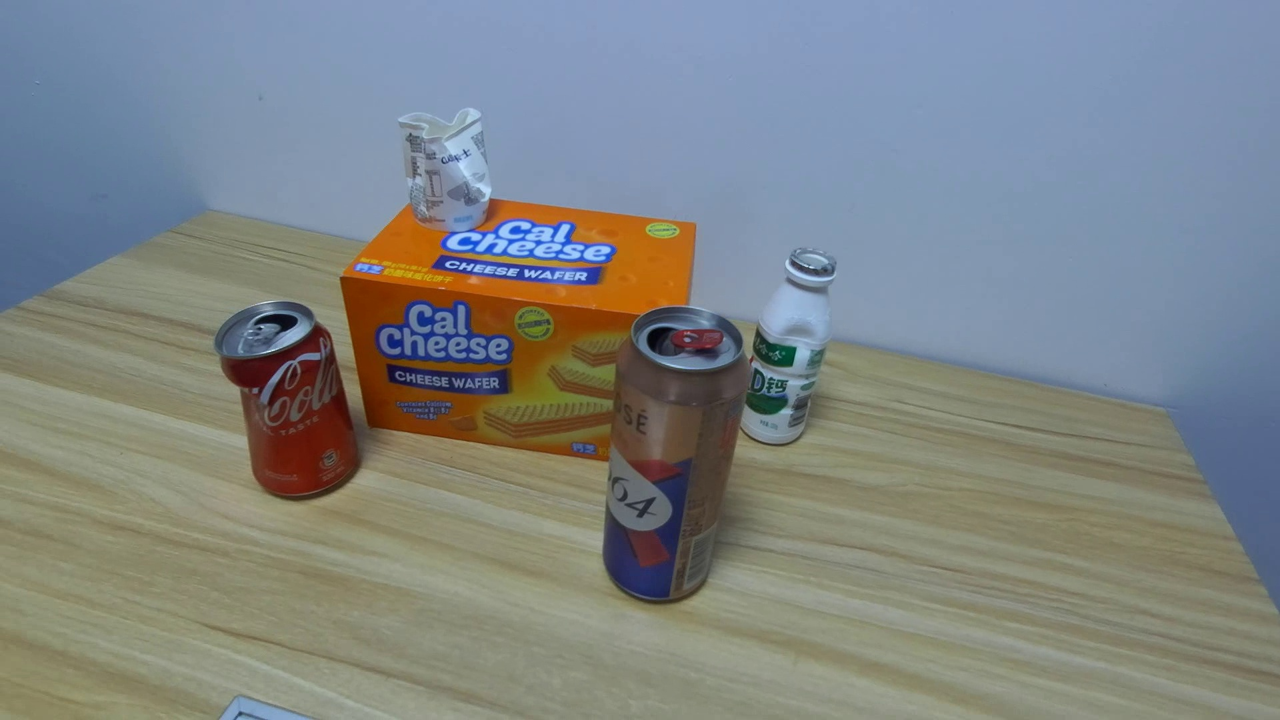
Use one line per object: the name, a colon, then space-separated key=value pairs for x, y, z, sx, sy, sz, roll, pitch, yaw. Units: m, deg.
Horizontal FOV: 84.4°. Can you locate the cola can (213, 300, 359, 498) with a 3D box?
cola can: x=-0.215 y=0.027 z=0.440 sx=0.066 sy=0.117 sz=0.072 roll=-15 pitch=39 yaw=-28

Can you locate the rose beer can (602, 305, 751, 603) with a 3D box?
rose beer can: x=0.017 y=0.057 z=0.385 sx=0.069 sy=0.169 sz=0.068 roll=3 pitch=36 yaw=-2

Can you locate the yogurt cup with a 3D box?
yogurt cup: x=-0.136 y=-0.135 z=0.498 sx=0.055 sy=0.072 sz=0.055 roll=-20 pitch=46 yaw=-31

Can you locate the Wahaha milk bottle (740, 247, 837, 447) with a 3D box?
Wahaha milk bottle: x=0.106 y=-0.003 z=0.505 sx=0.053 sy=0.137 sz=0.053 roll=5 pitch=36 yaw=-3

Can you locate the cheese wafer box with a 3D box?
cheese wafer box: x=-0.076 y=-0.028 z=0.528 sx=0.222 sy=0.129 sz=0.148 roll=7 pitch=36 yaw=3
